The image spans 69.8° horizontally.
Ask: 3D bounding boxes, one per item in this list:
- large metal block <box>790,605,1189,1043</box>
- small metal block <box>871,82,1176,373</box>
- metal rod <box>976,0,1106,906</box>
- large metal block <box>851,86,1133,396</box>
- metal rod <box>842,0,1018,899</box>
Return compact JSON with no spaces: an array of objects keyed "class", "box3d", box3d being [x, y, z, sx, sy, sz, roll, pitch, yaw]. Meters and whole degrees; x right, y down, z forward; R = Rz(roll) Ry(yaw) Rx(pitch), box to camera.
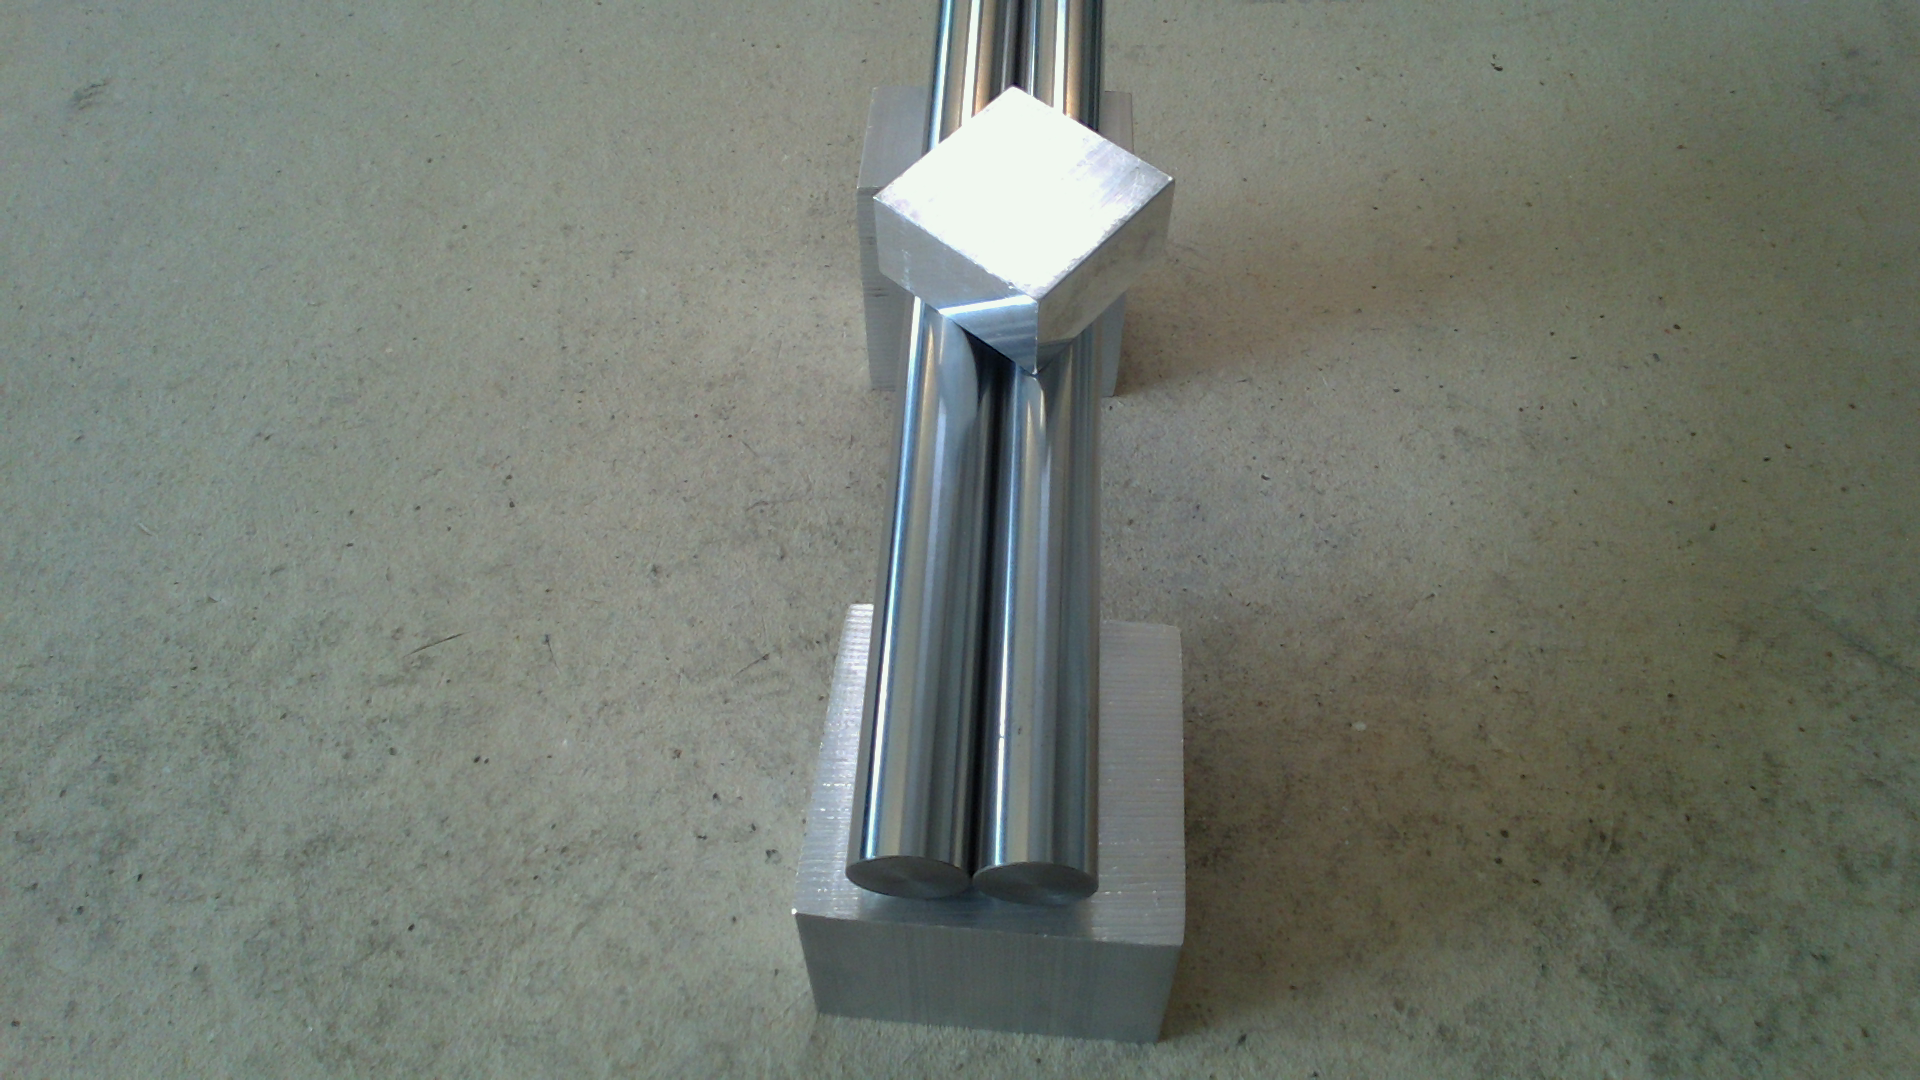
[{"class":"large metal block","box3d":[0.009,0.065,0.320,0.080,0.050,0.080,4,50,3]},{"class":"small metal block","box3d":[0.015,-0.075,0.328,0.050,0.025,0.050,37,64,20]},{"class":"metal rod","box3d":[0.024,-0.059,0.346,0.025,0.025,0.300,2,57,2]},{"class":"large metal block","box3d":[0.011,-0.092,0.434,0.080,0.080,0.050,2,50,2]},{"class":"metal rod","box3d":[-0.002,-0.060,0.347,0.025,0.025,0.300,2,57,2]}]
